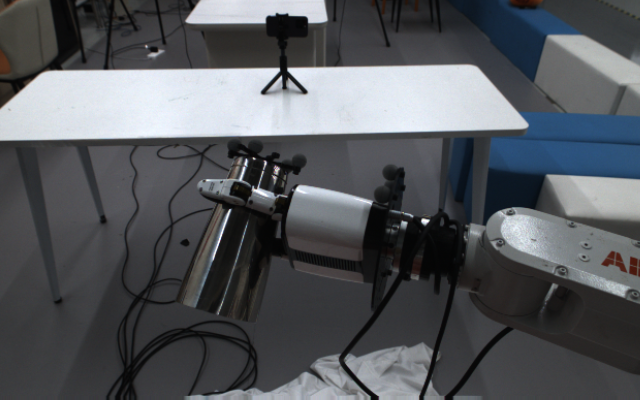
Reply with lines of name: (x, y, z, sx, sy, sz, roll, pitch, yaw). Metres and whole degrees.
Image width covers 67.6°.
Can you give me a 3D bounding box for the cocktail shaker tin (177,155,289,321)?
cocktail shaker tin: (-0.088, 0.040, 0.544, 0.093, 0.093, 0.170, 13, 77, 15)
